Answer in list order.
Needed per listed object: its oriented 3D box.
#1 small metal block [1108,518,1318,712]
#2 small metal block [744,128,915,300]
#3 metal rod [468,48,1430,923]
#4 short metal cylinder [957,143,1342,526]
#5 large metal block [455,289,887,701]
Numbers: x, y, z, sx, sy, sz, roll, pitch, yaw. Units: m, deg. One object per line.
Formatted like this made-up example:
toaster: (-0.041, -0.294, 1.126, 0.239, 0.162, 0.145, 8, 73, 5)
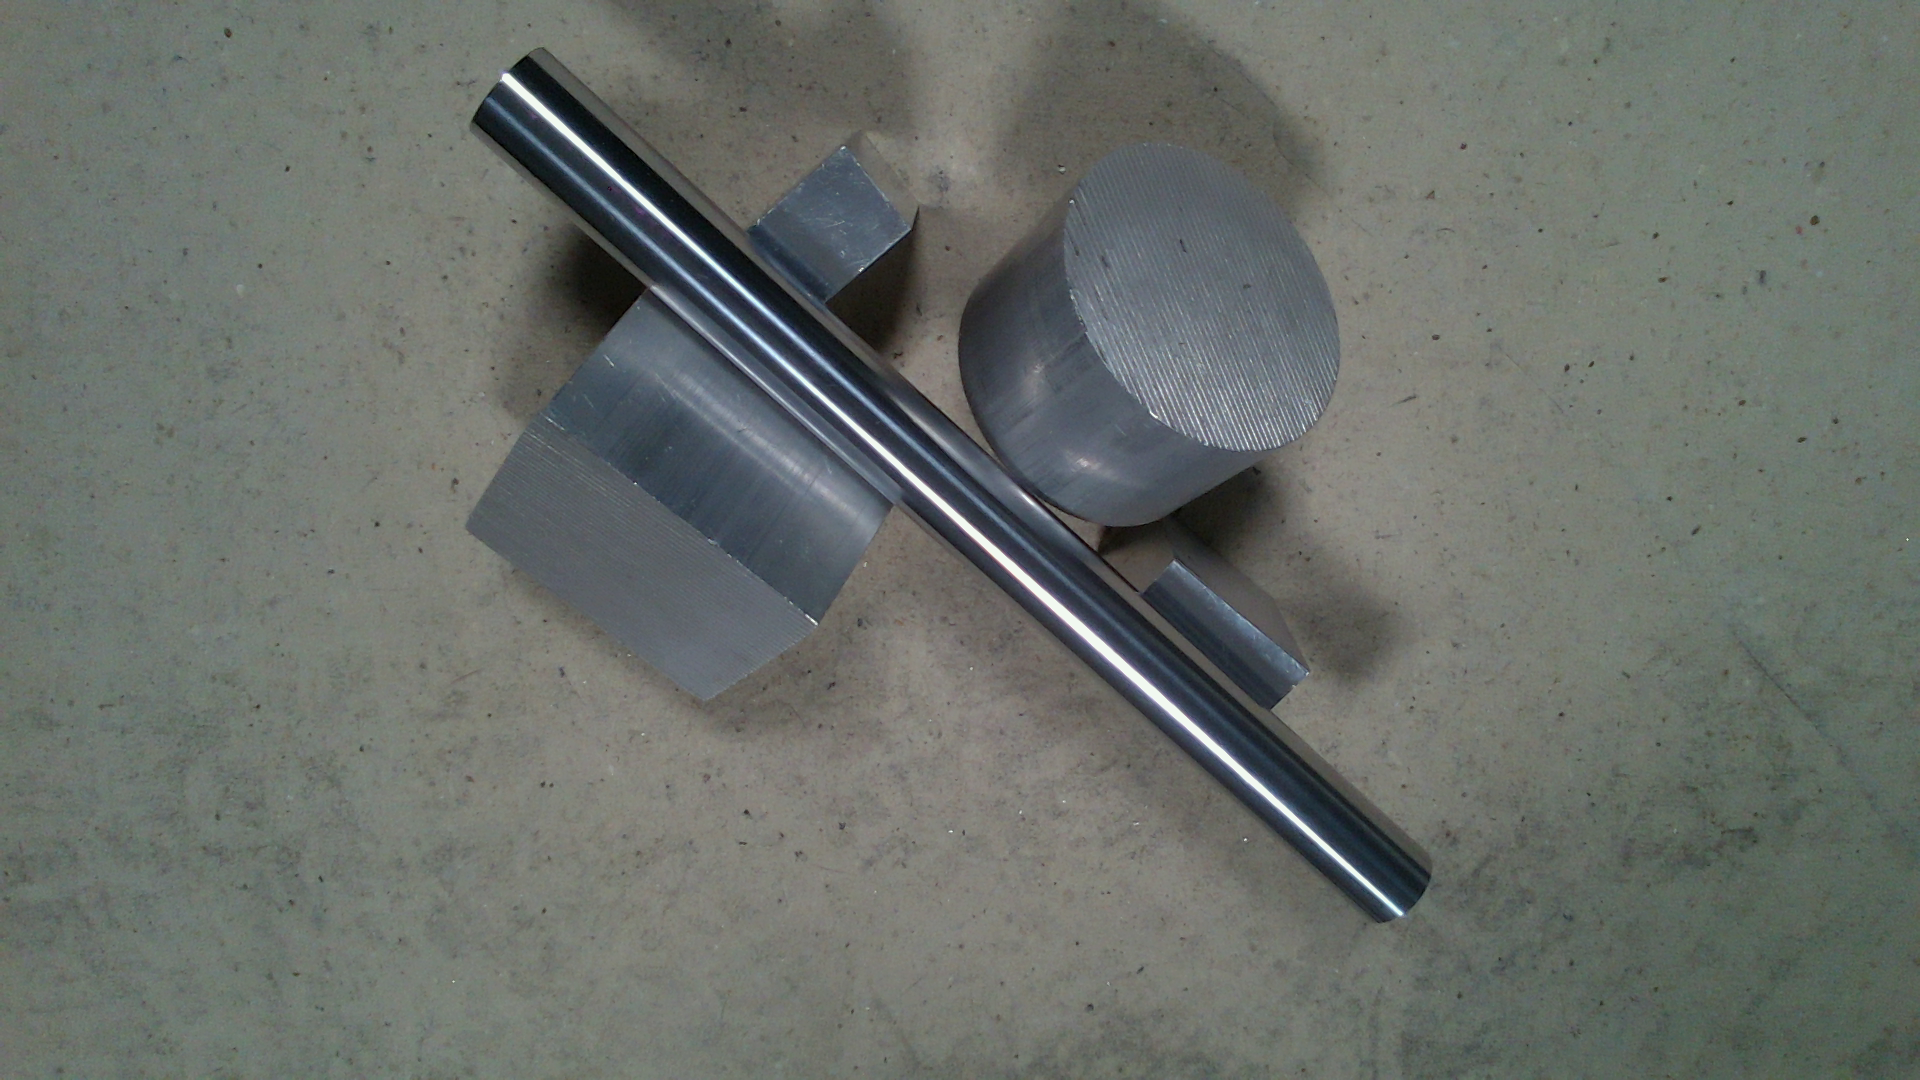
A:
small metal block: (0.068, 0.021, 0.386, 0.050, 0.050, 0.025, 39, 106, -13)
small metal block: (-0.038, -0.078, 0.352, 0.050, 0.050, 0.025, -37, 106, 13)
metal rod: (0.009, -0.003, 0.340, 0.300, 0.025, 0.025, 42, 105, -14)
short metal cylinder: (0.046, -0.049, 0.340, 0.080, 0.080, 0.050, 37, 147, -13)
large metal block: (-0.074, -0.010, 0.358, 0.080, 0.050, 0.080, 39, 146, -13)
